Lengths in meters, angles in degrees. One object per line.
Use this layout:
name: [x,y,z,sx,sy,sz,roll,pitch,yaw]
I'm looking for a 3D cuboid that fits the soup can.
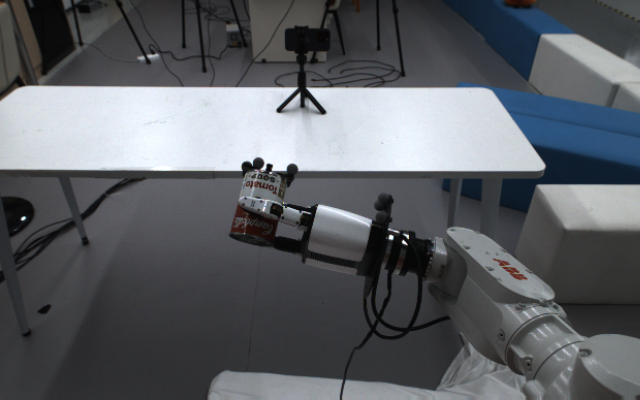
soup can: [-0.091,0.013,0.728,0.067,0.067,0.101,9,74,9]
